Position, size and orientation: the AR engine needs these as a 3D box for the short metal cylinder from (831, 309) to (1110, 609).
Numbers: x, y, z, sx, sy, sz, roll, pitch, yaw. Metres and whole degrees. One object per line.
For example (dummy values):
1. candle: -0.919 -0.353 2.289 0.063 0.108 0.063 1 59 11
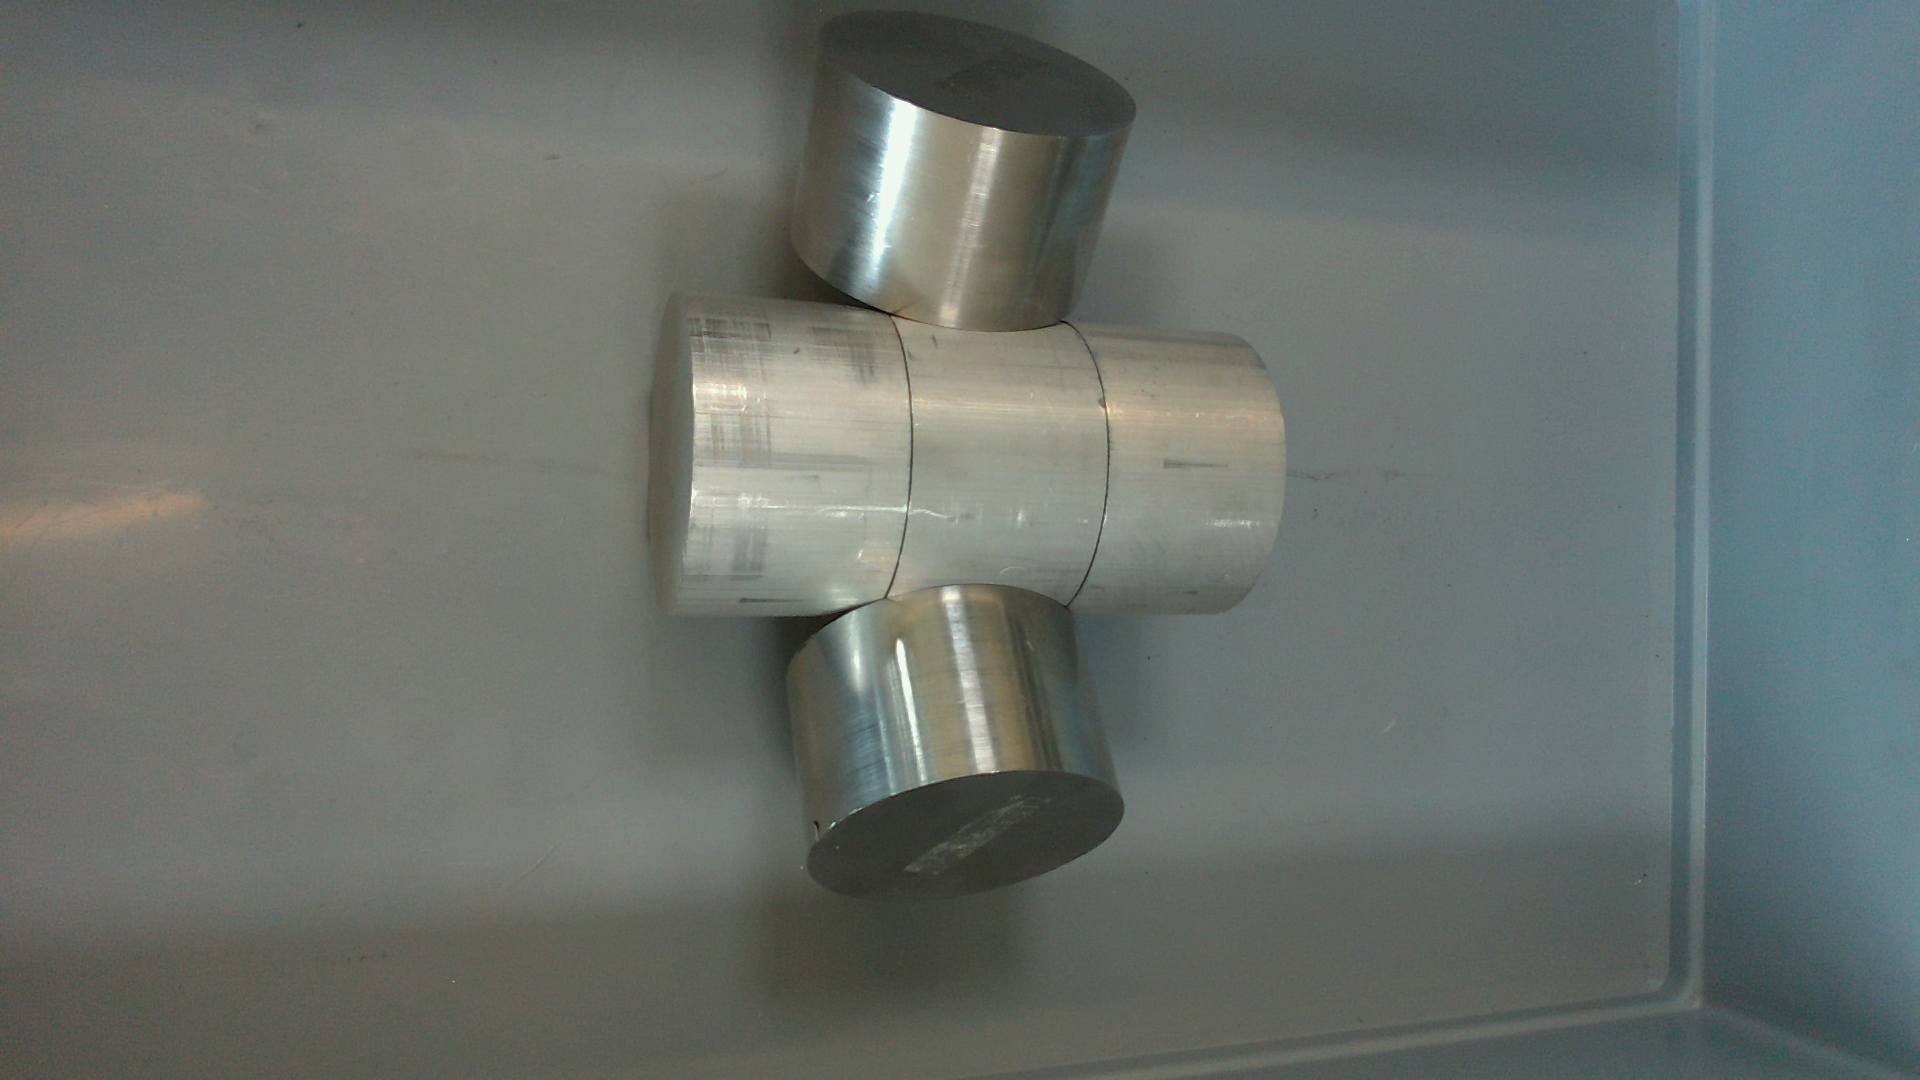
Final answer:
1. short metal cylinder: -0.001 -0.020 0.363 0.050 0.080 0.080 1 90 -19

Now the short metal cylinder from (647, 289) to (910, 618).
1. short metal cylinder: -0.048 -0.021 0.345 0.050 0.080 0.080 1 90 -19

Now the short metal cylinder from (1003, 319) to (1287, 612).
1. short metal cylinder: 0.047 -0.019 0.380 0.050 0.080 0.080 1 90 -19

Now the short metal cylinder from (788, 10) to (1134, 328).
1. short metal cylinder: -0.001 -0.097 0.355 0.080 0.080 0.050 2 127 -20

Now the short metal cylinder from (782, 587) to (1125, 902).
1. short metal cylinder: -0.003 0.055 0.354 0.080 0.080 0.050 0 56 -20
